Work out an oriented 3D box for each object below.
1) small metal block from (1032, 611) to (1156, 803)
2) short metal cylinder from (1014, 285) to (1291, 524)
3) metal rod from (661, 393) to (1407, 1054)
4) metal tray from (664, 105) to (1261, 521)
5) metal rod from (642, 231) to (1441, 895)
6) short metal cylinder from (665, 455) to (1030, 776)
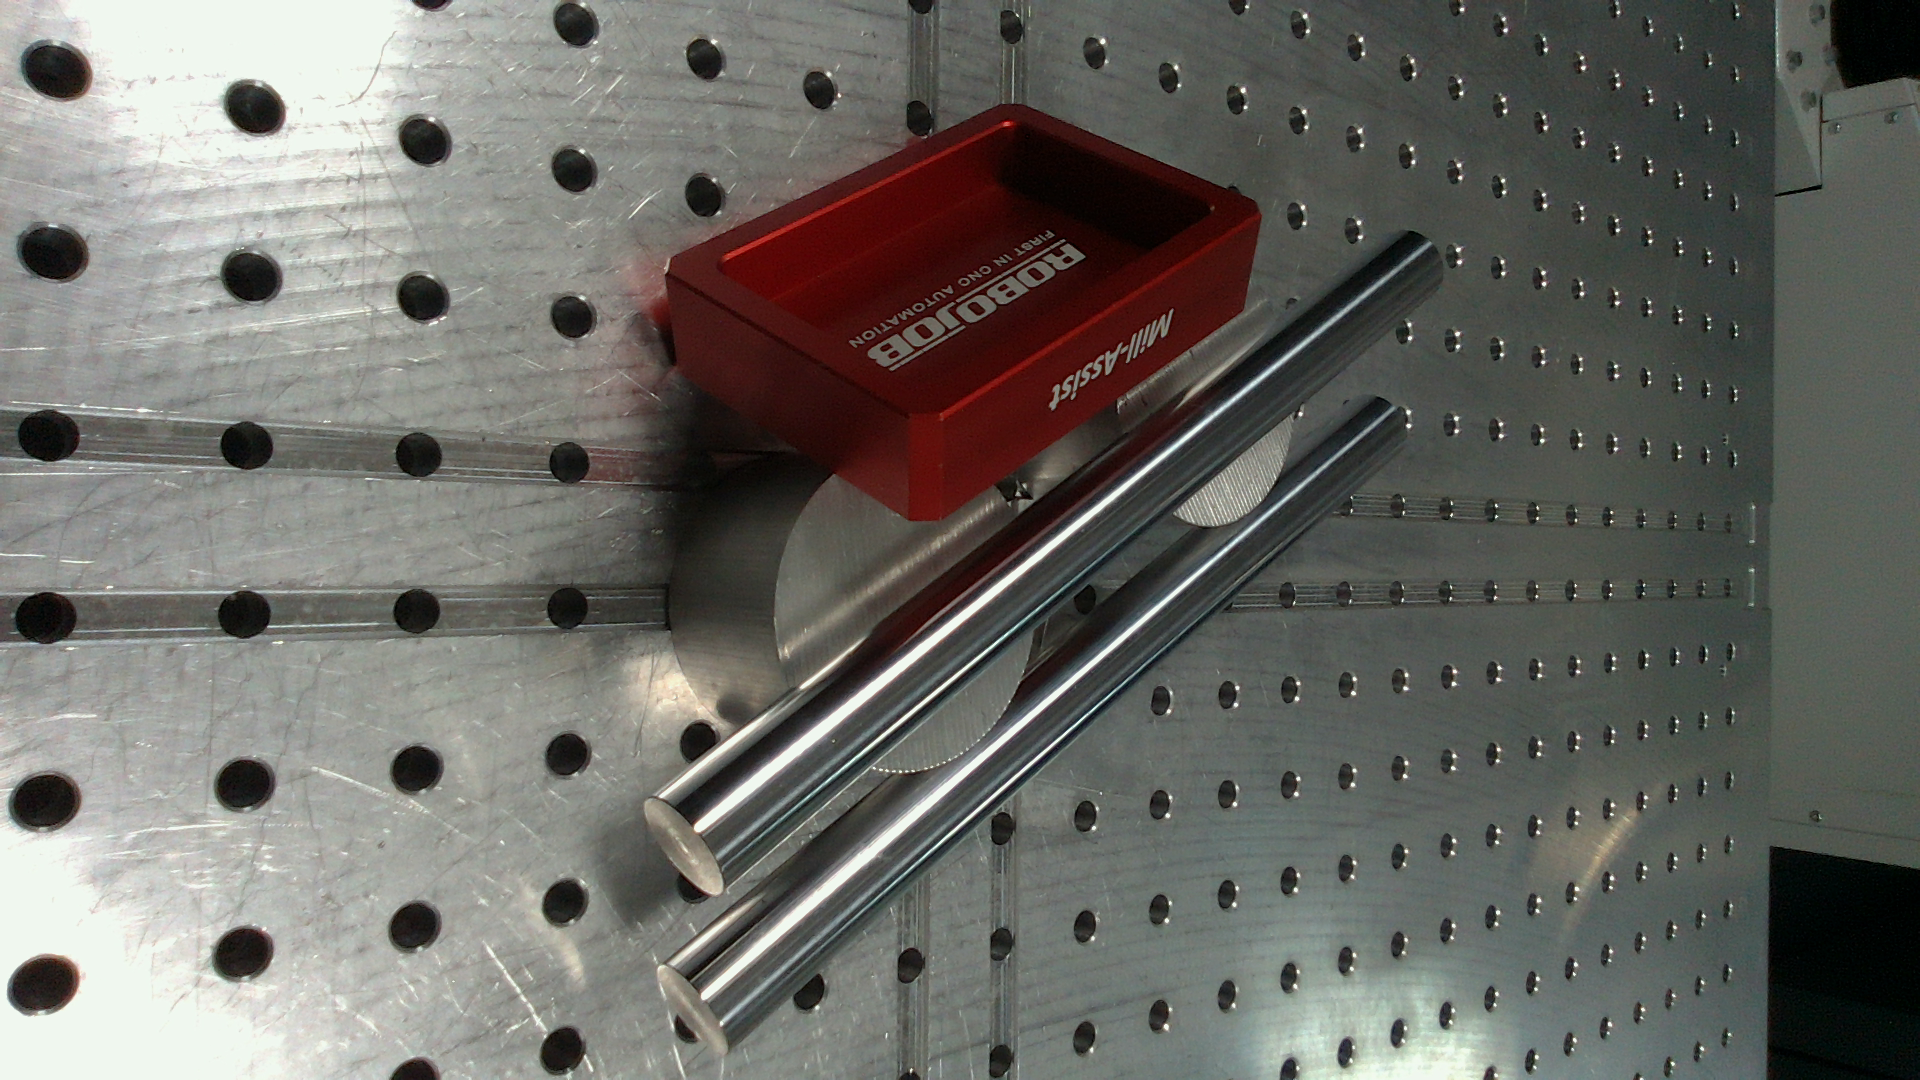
[{"bbox_3d":[0.032,0.050,0.417,0.050,0.025,0.050,19,78,-38],"label":"small metal block"},{"bbox_3d":[0.057,-0.045,0.424,0.080,0.050,0.080,0,90,-40],"label":"short metal cylinder"},{"bbox_3d":[0.042,0.033,0.393,0.301,0.025,0.025,-36,112,-34],"label":"metal rod"},{"bbox_3d":[0.003,-0.065,0.351,0.130,0.090,0.030,-36,144,-34],"label":"metal tray"},{"bbox_3d":[0.044,-0.013,0.362,0.301,0.025,0.025,-37,113,-34],"label":"metal rod"},{"bbox_3d":[-0.028,0.017,0.353,0.080,0.050,0.080,0,90,-40],"label":"short metal cylinder"}]
